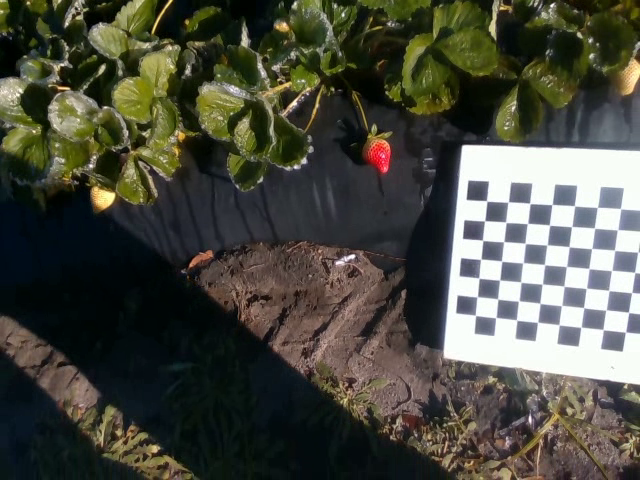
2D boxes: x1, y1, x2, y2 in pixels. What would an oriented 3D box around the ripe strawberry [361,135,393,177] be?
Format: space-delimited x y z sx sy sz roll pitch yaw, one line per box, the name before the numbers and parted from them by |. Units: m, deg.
ripe strawberry | 0.074 -0.103 0.712 0.039 0.053 0.041 -18 -11 17
